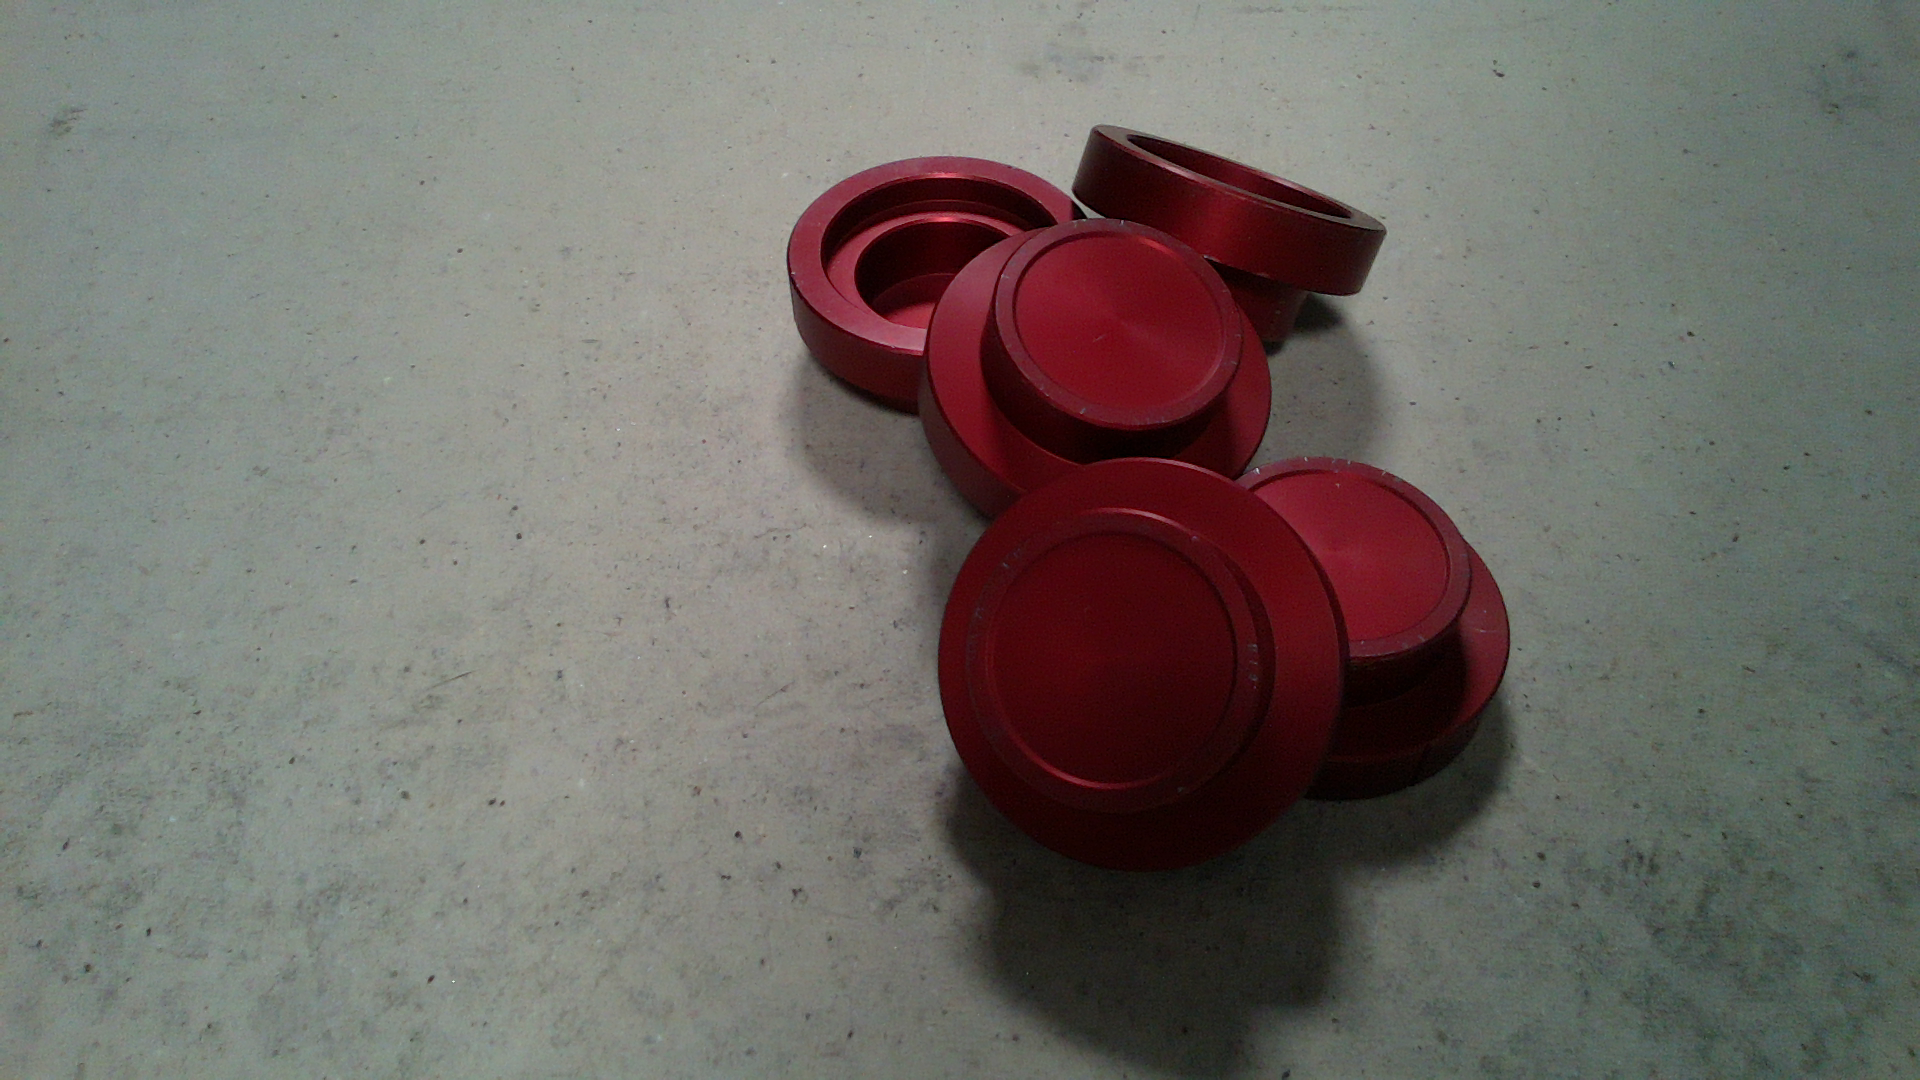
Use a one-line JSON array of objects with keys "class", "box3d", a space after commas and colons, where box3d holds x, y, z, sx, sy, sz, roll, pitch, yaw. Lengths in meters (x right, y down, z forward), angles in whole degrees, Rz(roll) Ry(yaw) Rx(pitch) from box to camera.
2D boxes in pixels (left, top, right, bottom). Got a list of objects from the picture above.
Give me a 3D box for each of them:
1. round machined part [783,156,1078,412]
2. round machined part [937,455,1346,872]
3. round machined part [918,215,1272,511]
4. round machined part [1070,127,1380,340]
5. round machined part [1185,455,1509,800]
[{"class": "round machined part", "box3d": [-0.006, -0.079, 0.447, 0.098, 0.042, 0.098, 0, 50, 0]}, {"class": "round machined part", "box3d": [0.040, 0.028, 0.324, 0.098, 0.042, 0.098, -2, 83, 20]}, {"class": "round machined part", "box3d": [0.039, -0.050, 0.380, 0.098, 0.042, 0.098, 4, 60, -7]}, {"class": "round machined part", "box3d": [0.082, -0.097, 0.444, 0.098, 0.042, 0.098, 16, 23, -7]}, {"class": "round machined part", "box3d": [0.096, 0.016, 0.367, 0.098, 0.042, 0.098, 0, 50, 0]}]
